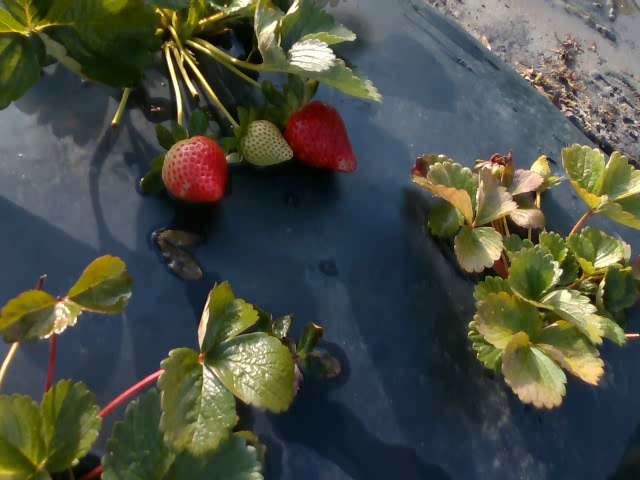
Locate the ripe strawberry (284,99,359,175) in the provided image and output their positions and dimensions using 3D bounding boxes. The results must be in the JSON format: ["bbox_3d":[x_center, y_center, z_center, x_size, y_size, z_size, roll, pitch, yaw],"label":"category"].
[{"bbox_3d":[0.005,-0.066,0.433,0.048,0.065,0.050,-38,-4,8],"label":"ripe strawberry"}]
